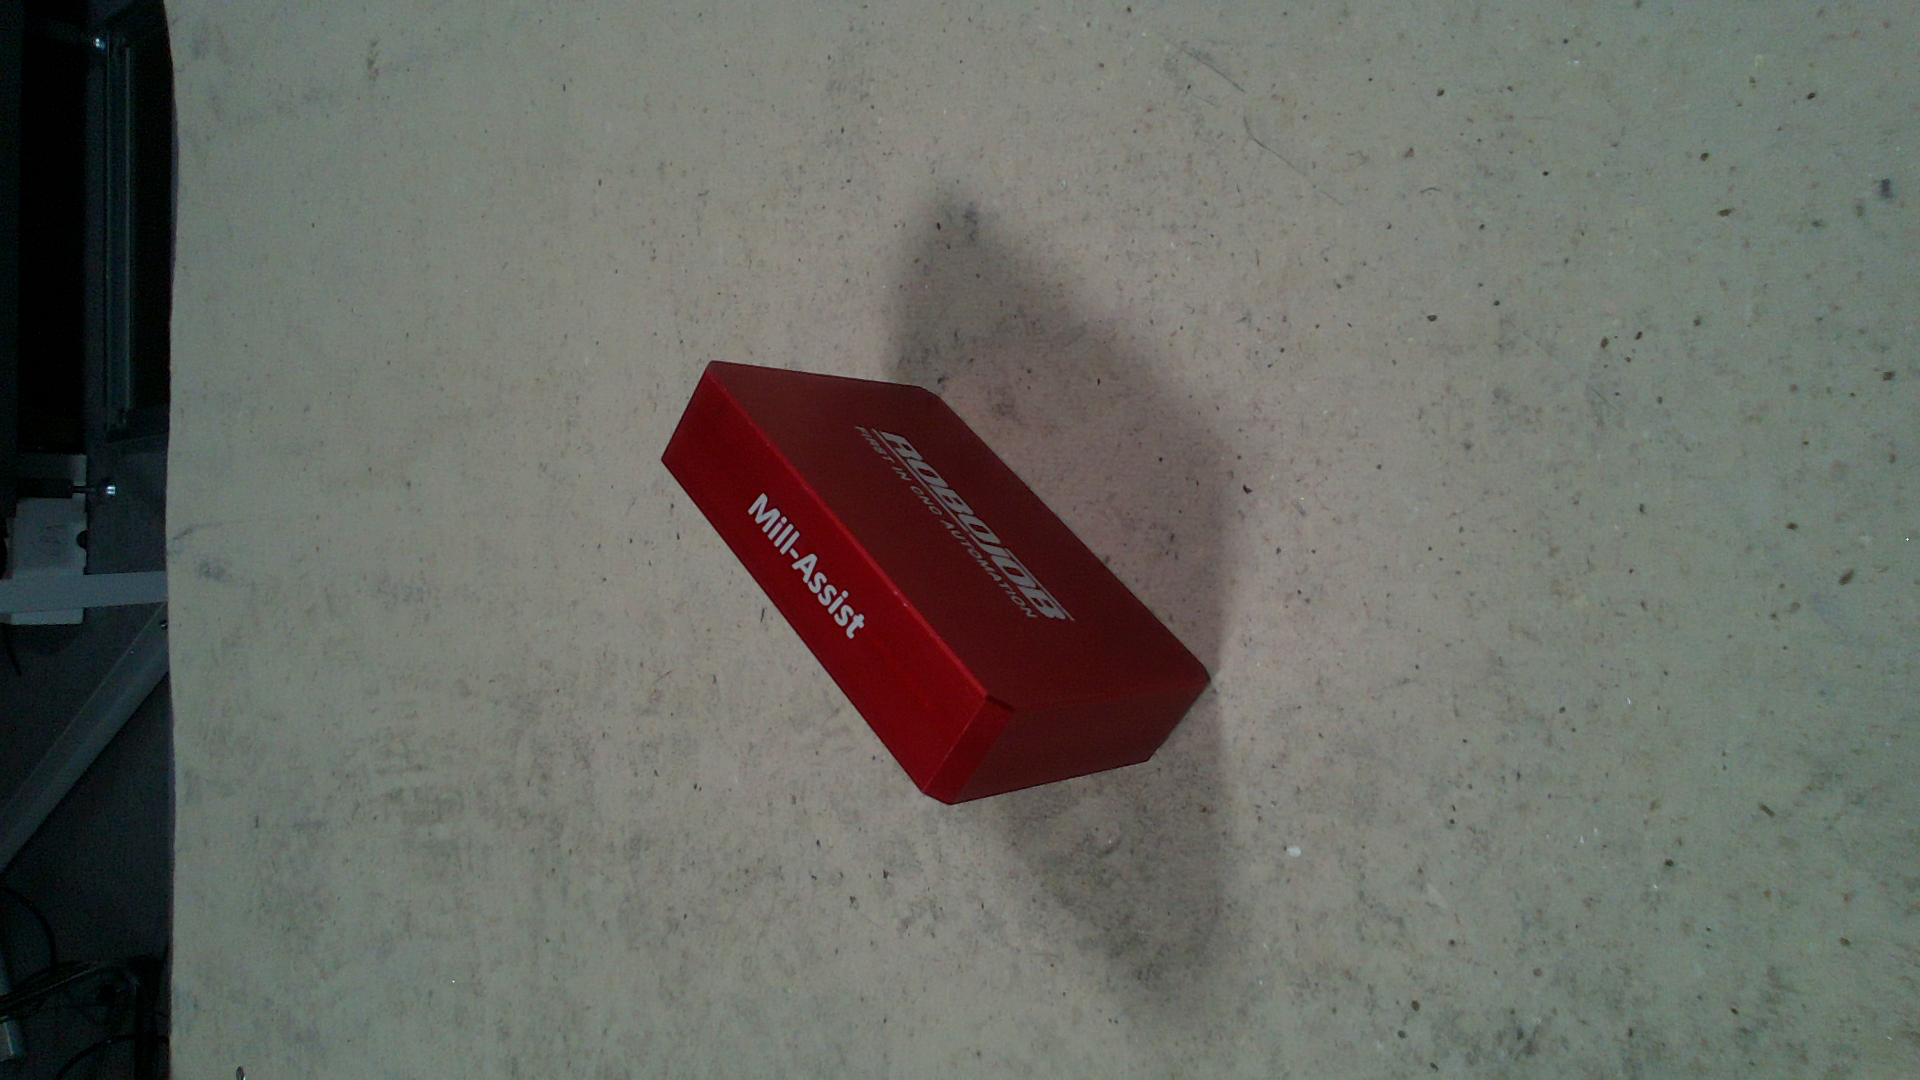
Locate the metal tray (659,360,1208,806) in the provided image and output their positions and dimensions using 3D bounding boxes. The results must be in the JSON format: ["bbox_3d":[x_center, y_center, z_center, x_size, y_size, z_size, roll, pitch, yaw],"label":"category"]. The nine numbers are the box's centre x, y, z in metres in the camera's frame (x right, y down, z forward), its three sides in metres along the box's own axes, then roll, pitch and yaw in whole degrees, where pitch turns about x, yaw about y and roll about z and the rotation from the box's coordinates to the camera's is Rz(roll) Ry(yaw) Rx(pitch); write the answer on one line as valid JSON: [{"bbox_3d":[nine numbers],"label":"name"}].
[{"bbox_3d":[-0.008,0.006,0.359,0.130,0.090,0.030,47,118,30],"label":"metal tray"}]
